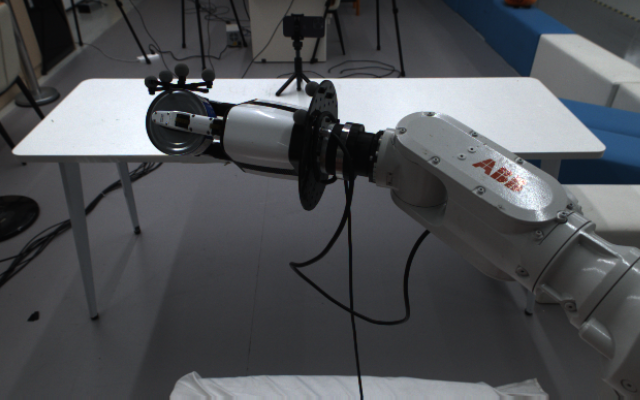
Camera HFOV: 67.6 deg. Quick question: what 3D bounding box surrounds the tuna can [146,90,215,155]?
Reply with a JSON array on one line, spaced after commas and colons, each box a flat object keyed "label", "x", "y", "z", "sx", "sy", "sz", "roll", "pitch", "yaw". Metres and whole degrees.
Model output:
[{"label": "tuna can", "x": -0.176, "y": -0.097, "z": 0.628, "sx": 0.085, "sy": 0.085, "sz": 0.034, "roll": 10, "pitch": 2, "yaw": 11}]
